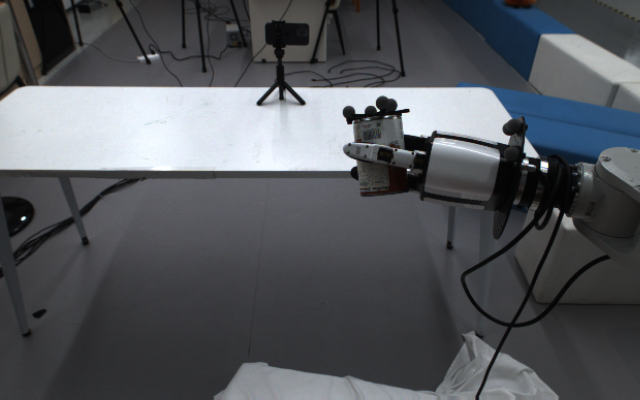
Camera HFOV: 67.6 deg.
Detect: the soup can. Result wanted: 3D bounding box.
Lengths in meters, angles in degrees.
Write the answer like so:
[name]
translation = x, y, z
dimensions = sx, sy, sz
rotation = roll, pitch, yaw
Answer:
[soup can]
translation = 0.084, -0.058, 0.653
dimensions = 0.067, 0.101, 0.067
rotation = -7, 3, 0
